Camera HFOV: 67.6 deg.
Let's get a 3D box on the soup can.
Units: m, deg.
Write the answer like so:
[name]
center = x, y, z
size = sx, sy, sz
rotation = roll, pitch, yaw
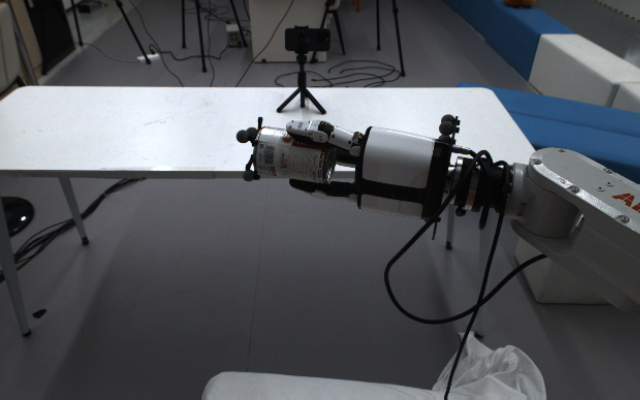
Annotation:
[soup can]
center = -0.031, -0.061, 0.661
size = 0.101, 0.067, 0.067
rotation = 9, 35, 9
